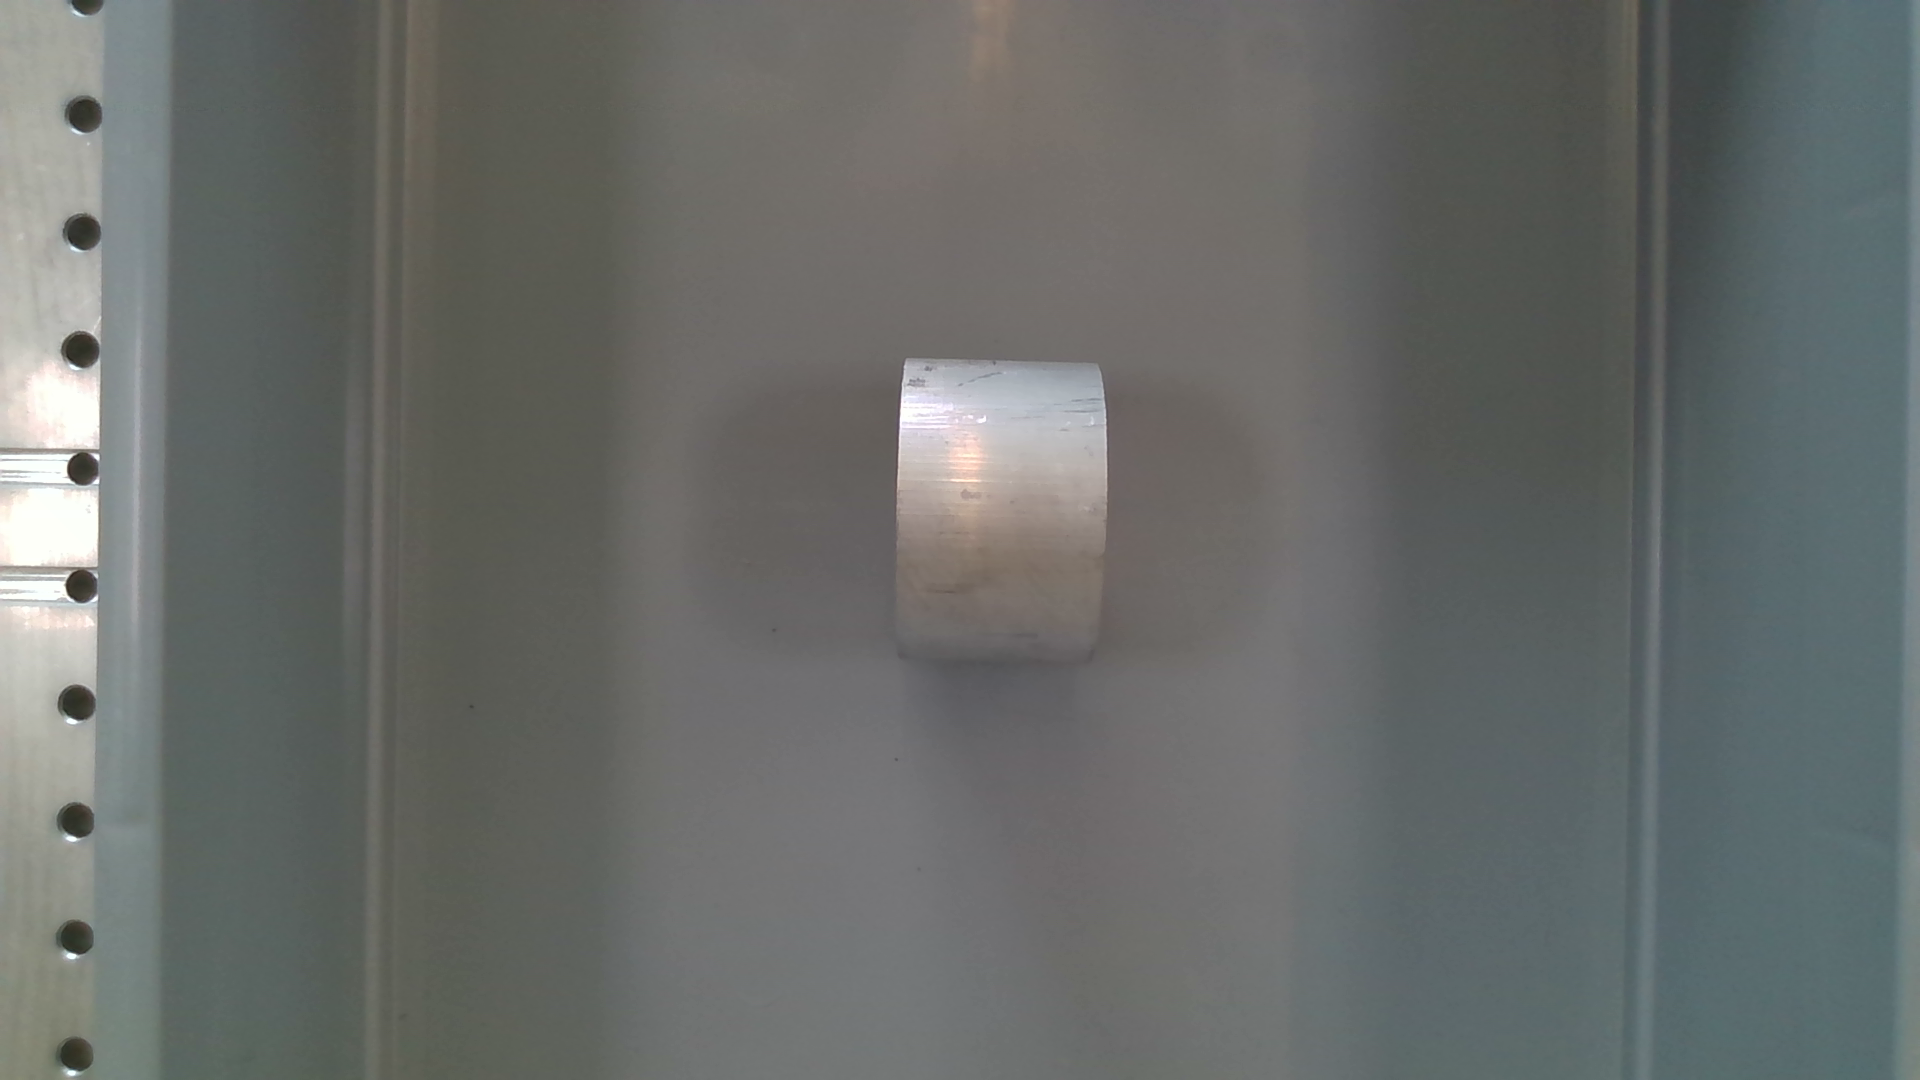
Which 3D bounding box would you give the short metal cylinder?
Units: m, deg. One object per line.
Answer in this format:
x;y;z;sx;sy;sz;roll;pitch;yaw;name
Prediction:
0.010;-0.008;0.365;0.050;0.080;0.080;2;90;0;short metal cylinder
